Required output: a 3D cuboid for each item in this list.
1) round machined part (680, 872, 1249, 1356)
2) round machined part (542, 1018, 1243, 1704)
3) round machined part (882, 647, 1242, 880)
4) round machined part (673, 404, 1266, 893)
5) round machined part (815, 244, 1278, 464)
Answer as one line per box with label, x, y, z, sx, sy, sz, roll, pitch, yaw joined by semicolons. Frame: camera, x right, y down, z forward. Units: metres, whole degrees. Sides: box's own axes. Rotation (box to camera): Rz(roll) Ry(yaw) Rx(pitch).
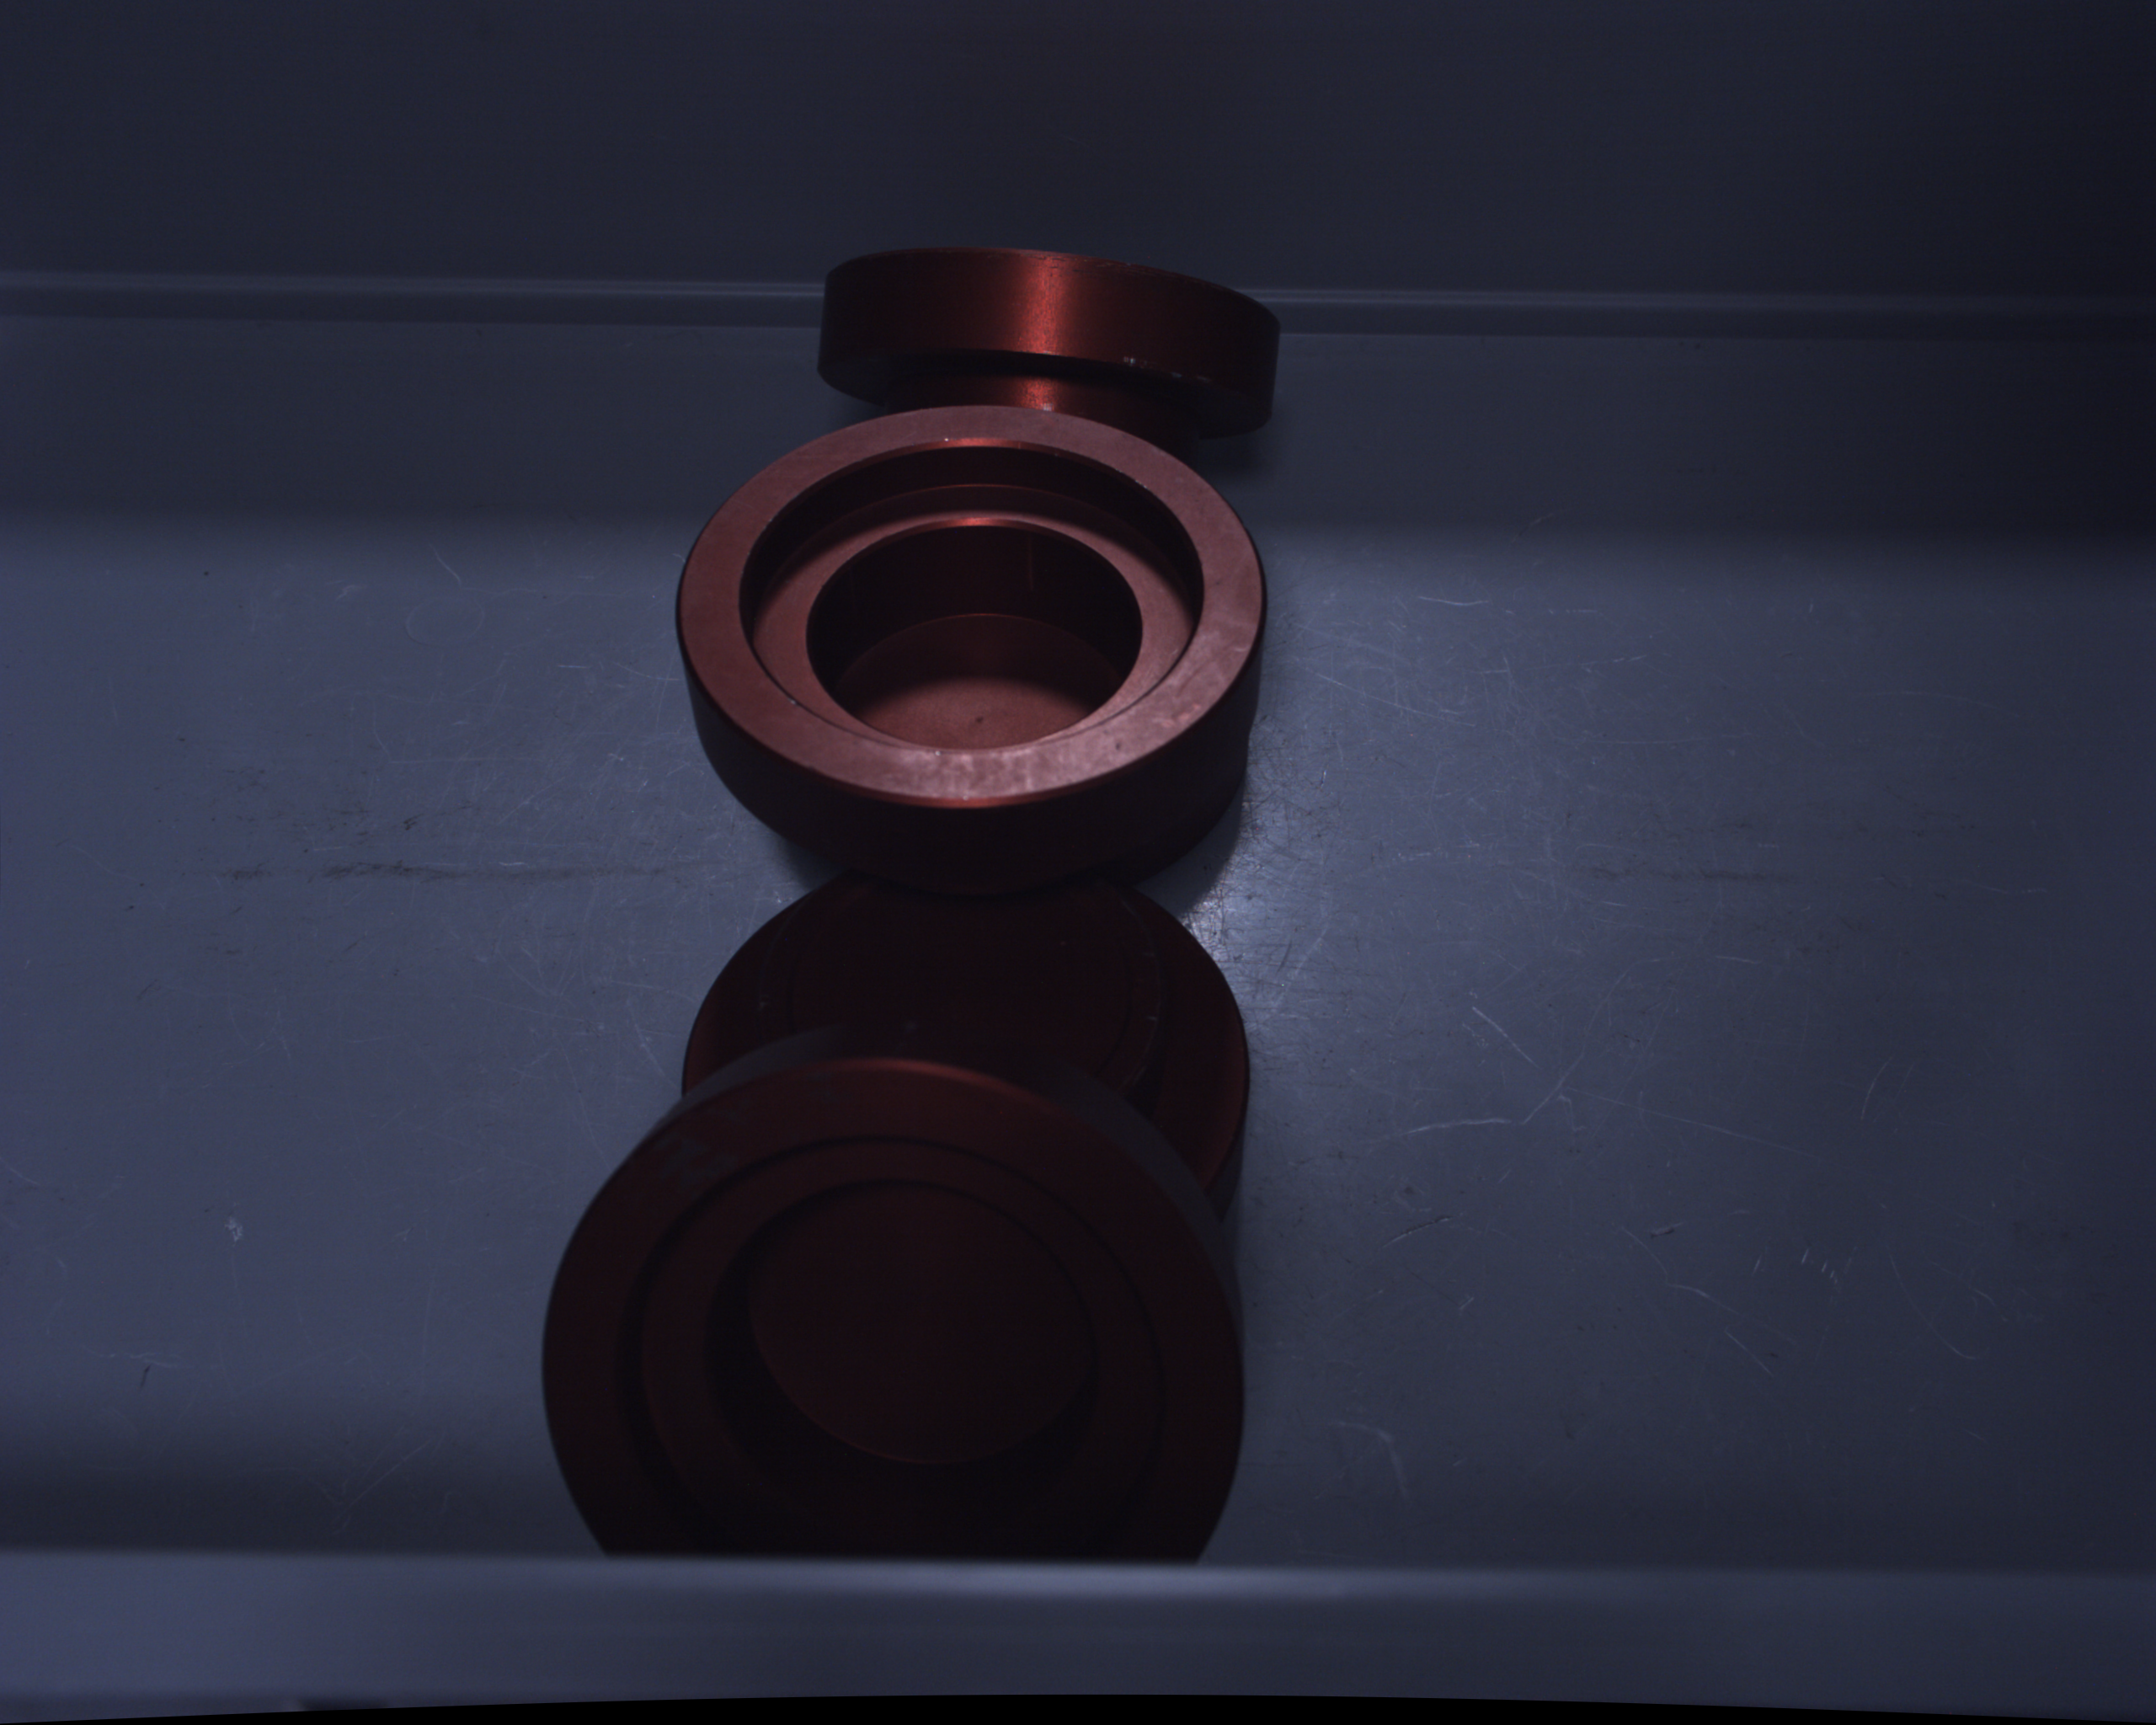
round machined part;-0.020;0.034;0.362;0.099;0.042;0.098;0;50;0
round machined part;-0.025;0.070;0.310;0.099;0.097;0.042;5;13;3
round machined part;-0.014;-0.041;0.426;0.099;0.042;0.098;0;50;0
round machined part;-0.018;-0.033;0.364;0.099;0.042;0.098;0;50;0
round machined part;-0.008;-0.101;0.453;0.099;0.098;0.042;5;93;4
